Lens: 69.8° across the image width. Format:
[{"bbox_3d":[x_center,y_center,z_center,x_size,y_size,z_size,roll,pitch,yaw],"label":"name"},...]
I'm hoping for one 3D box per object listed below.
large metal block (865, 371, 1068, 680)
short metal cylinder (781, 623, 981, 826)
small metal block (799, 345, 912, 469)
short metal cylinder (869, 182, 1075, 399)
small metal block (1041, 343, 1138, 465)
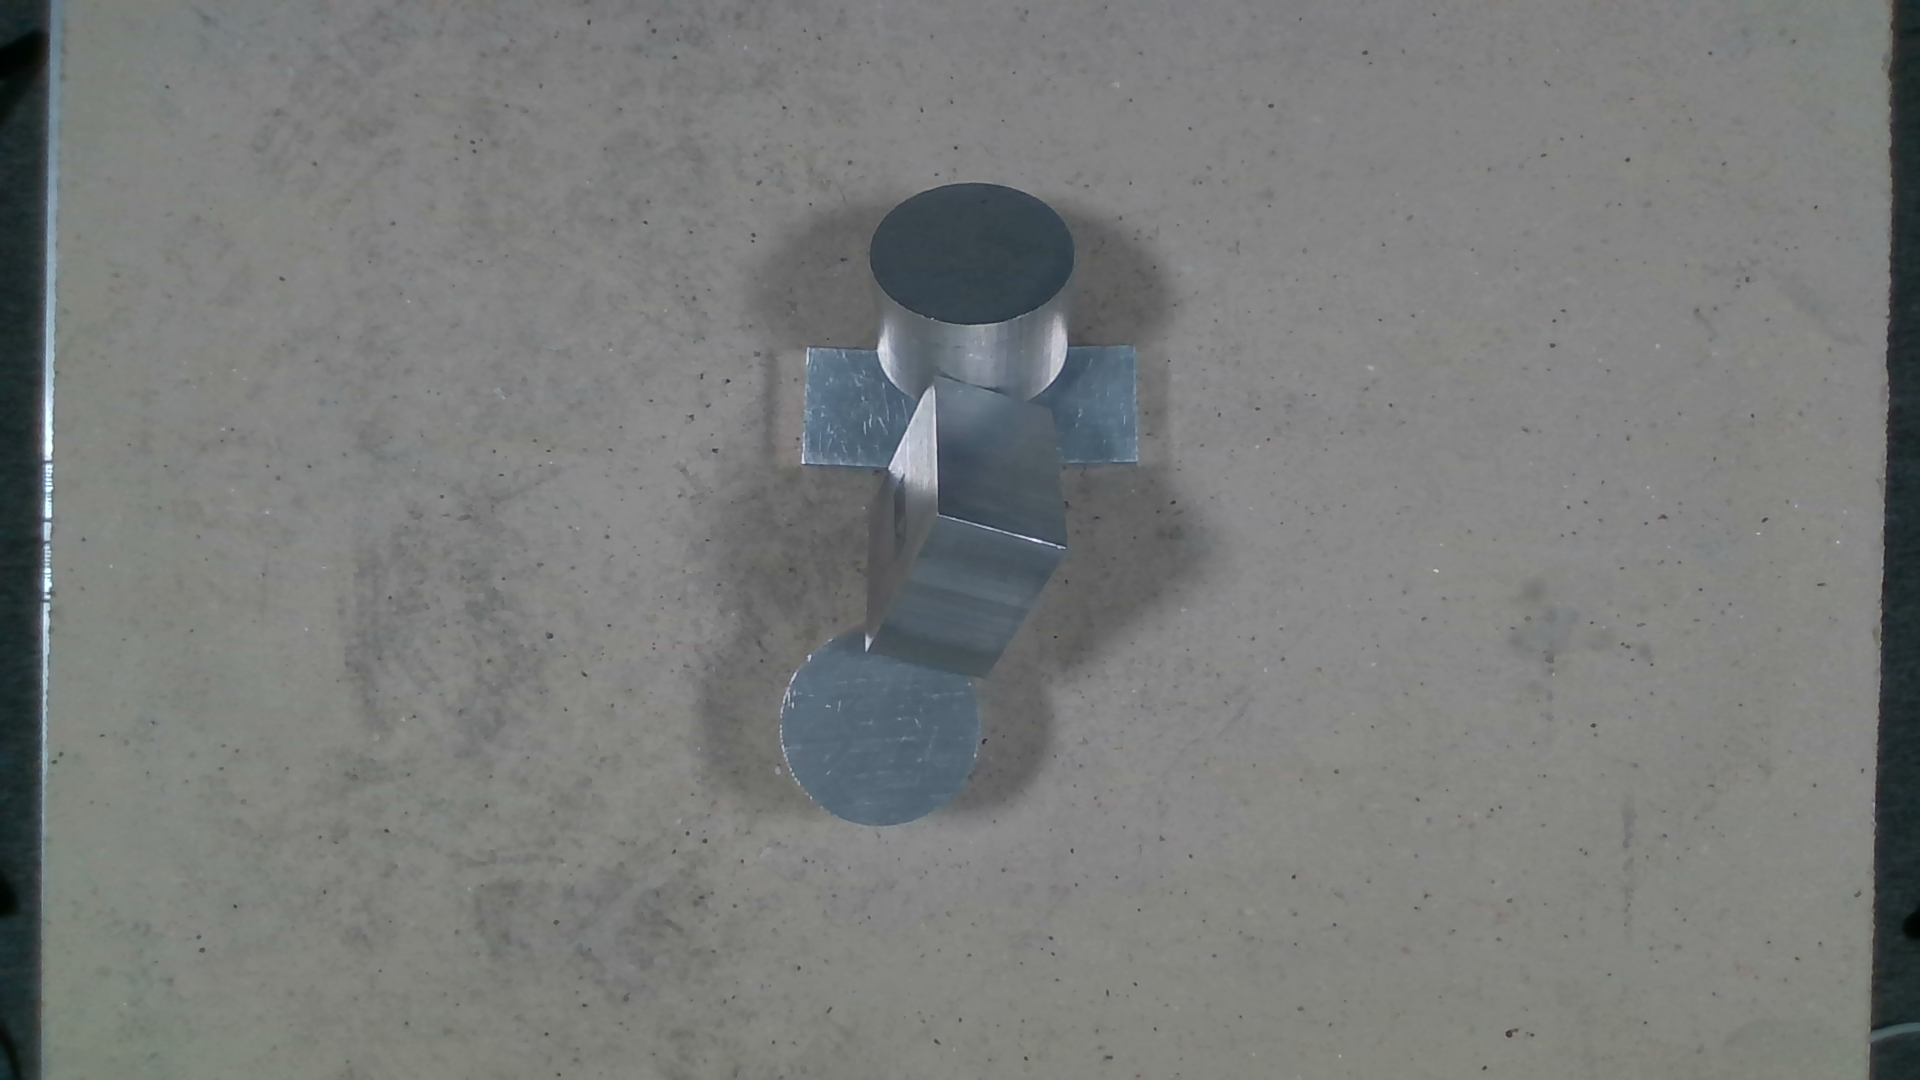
[{"bbox_3d":[0.000,-0.005,0.541,0.050,0.080,0.080,14,133,-16],"label":"large metal block"},{"bbox_3d":[-0.032,0.074,0.575,0.080,0.050,0.080,0,90,0],"label":"short metal cylinder"},{"bbox_3d":[-0.041,-0.055,0.586,0.050,0.025,0.050,3,90,0],"label":"small metal block"},{"bbox_3d":[0.005,-0.098,0.556,0.080,0.050,0.080,0,55,1],"label":"short metal cylinder"},{"bbox_3d":[0.049,-0.057,0.586,0.050,0.025,0.050,-1,90,0],"label":"small metal block"}]
